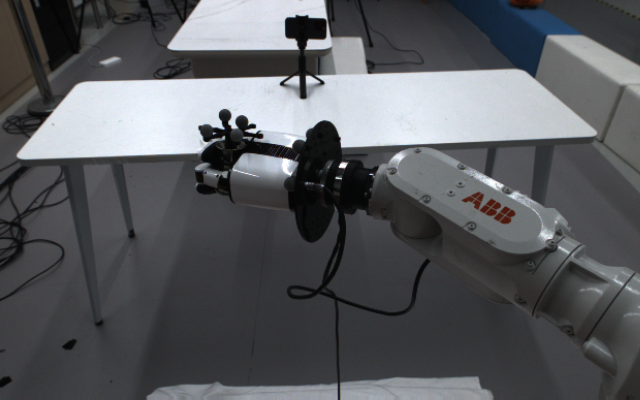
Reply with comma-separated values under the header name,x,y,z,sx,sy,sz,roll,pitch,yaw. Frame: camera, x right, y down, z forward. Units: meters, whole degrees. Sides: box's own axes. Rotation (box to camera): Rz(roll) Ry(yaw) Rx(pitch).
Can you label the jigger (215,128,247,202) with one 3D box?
name,x,y,z,sx,sy,sz,roll,pitch,yaw
jigger,-0.122,-0.045,0.670,0.043,0.071,0.043,5,26,-3
